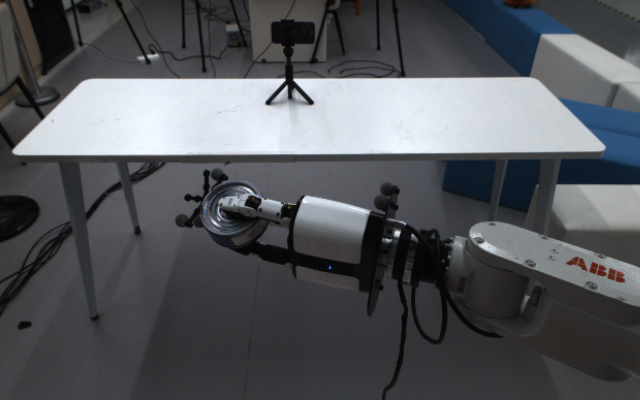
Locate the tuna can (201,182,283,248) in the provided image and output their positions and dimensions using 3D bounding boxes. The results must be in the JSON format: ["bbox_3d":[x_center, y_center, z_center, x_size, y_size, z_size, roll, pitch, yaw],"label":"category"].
[{"bbox_3d":[-0.106,0.023,0.624,0.085,0.034,0.085,-3,59,5],"label":"tuna can"}]
